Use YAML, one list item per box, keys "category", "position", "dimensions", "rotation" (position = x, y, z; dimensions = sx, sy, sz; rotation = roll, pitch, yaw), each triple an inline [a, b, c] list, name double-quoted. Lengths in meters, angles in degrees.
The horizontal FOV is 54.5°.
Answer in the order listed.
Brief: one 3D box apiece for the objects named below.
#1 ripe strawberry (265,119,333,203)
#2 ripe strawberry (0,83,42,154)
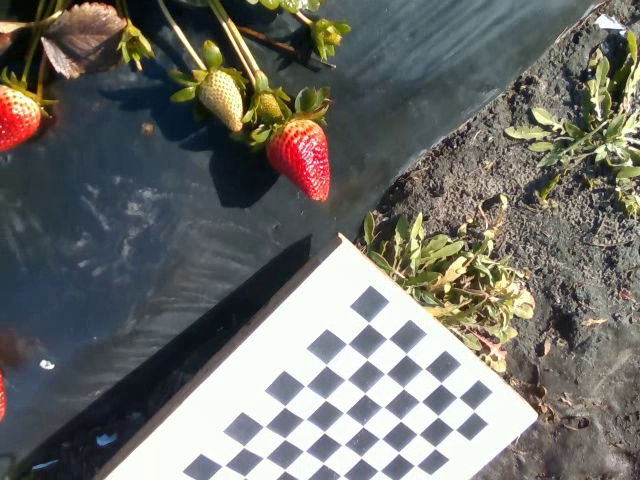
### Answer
- category: "ripe strawberry"
  position: [-0.012, -0.045, 0.364]
  dimensions: [0.042, 0.059, 0.042]
  rotation: [-27, 16, -6]
- category: "ripe strawberry"
  position: [-0.174, -0.066, 0.344]
  dimensions: [0.035, 0.047, 0.035]
  rotation: [41, 0, -25]
